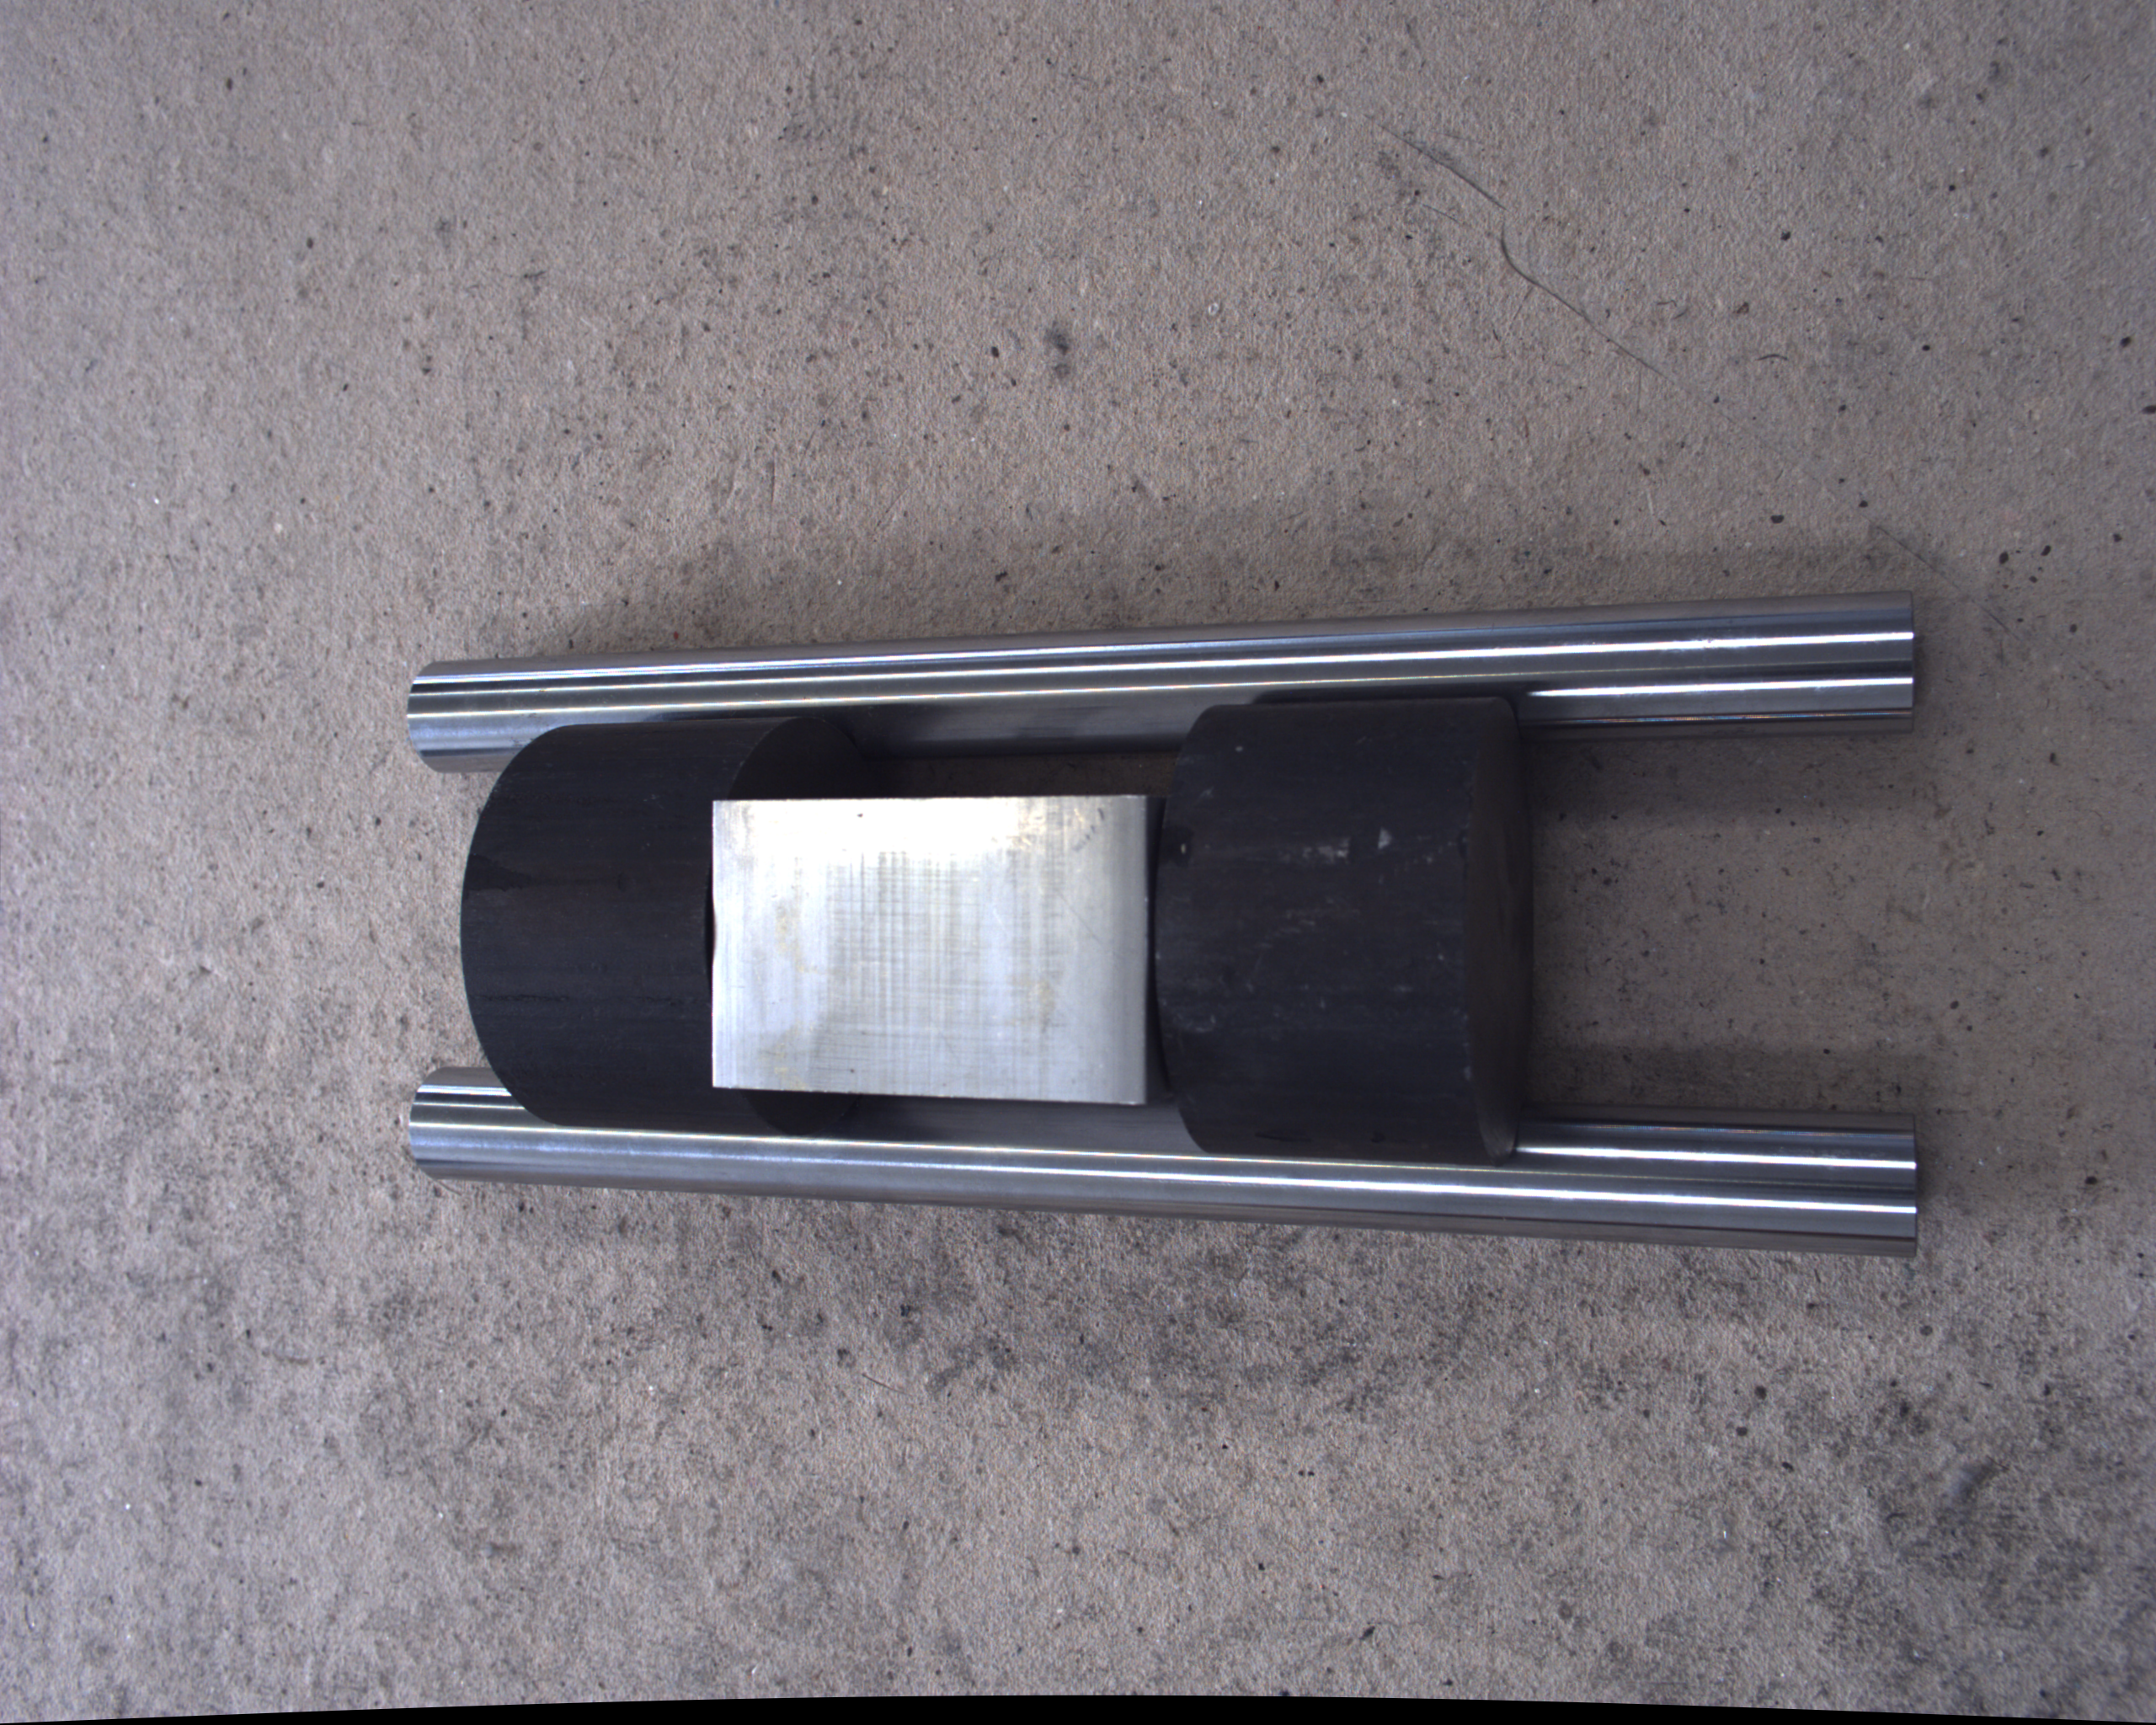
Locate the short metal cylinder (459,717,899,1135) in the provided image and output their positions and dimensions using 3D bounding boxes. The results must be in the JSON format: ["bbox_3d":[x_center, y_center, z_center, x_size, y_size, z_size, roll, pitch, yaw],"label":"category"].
[{"bbox_3d":[-0.075,0.012,0.407,0.050,0.080,0.080,-1,90,20],"label":"short metal cylinder"}]

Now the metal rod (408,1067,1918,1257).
[{"bbox_3d":[0.002,0.056,0.409,0.301,0.025,0.025,0,90,19],"label":"metal rod"}]

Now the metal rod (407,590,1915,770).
[{"bbox_3d":[0.002,-0.033,0.410,0.301,0.025,0.025,0,90,19],"label":"metal rod"}]

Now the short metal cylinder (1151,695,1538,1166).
[{"bbox_3d":[0.049,0.012,0.363,0.050,0.080,0.080,-1,90,20],"label":"short metal cylinder"}]

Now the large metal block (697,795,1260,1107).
[{"bbox_3d":[-0.014,0.014,0.383,0.080,0.080,0.050,0,90,20],"label":"large metal block"}]
